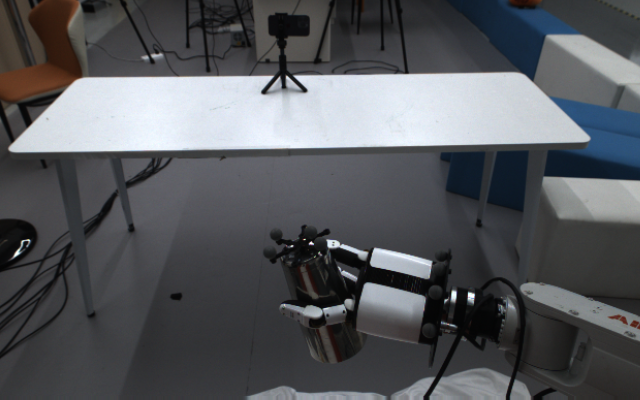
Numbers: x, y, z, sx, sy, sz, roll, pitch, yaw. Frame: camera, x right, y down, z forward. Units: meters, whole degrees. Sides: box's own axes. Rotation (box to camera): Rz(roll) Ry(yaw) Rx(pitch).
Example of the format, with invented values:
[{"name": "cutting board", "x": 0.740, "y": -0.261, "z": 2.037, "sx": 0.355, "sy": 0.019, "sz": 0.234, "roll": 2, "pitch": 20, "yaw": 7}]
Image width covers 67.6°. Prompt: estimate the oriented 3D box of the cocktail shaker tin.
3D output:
[{"name": "cocktail shaker tin", "x": 0.002, "y": 0.137, "z": 0.681, "sx": 0.093, "sy": 0.170, "sz": 0.093, "roll": -15, "pitch": 28, "yaw": 8}]
